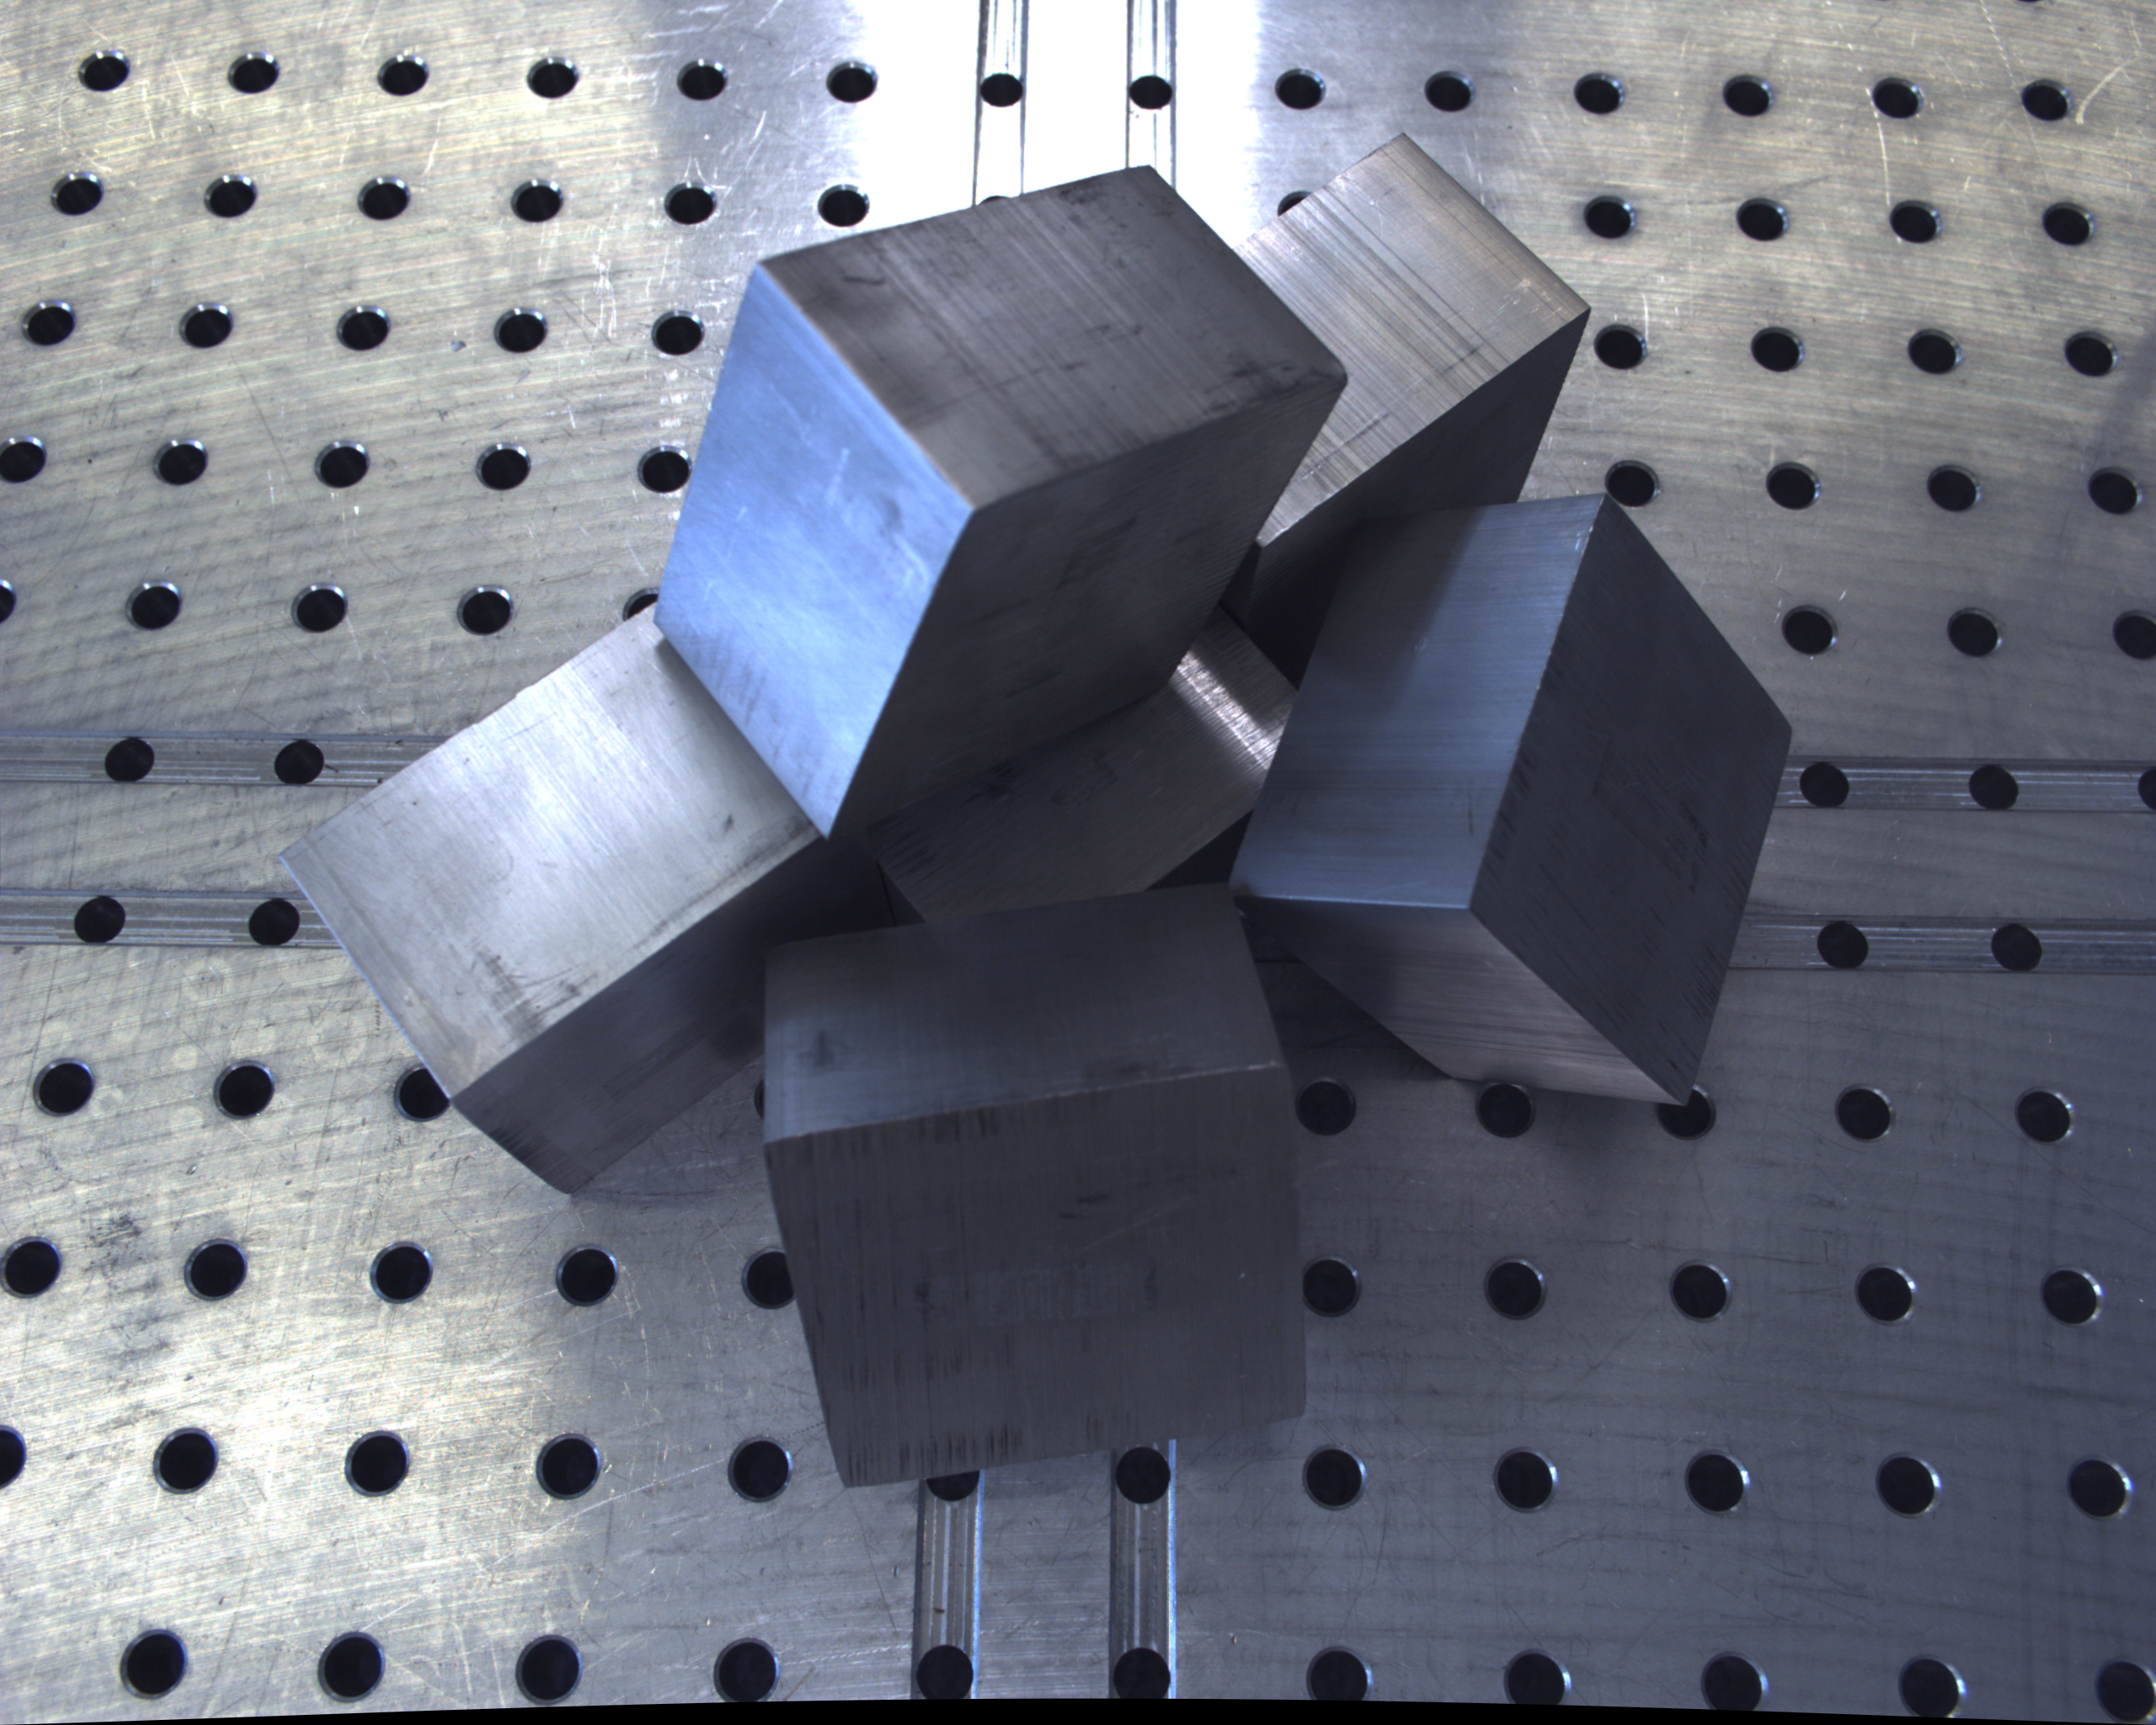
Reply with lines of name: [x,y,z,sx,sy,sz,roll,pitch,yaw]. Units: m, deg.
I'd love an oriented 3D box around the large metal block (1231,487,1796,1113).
large metal block: [0.081,-0.010,0.379,0.050,0.080,0.080,2,63,45]

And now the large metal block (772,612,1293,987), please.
large metal block: [-0.008,-0.019,0.407,0.080,0.050,0.080,-37,74,-13]

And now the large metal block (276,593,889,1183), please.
large metal block: [-0.083,0.007,0.378,0.080,0.080,0.050,-36,74,-12]

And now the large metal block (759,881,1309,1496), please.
large metal block: [-0.007,0.055,0.355,0.080,0.080,0.050,-8,34,-3]

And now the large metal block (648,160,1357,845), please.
large metal block: [-0.014,-0.058,0.337,0.081,0.080,0.050,-27,70,-36]

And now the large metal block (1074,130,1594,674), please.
large metal block: [0.046,-0.082,0.413,0.080,0.080,0.050,-37,75,-13]
